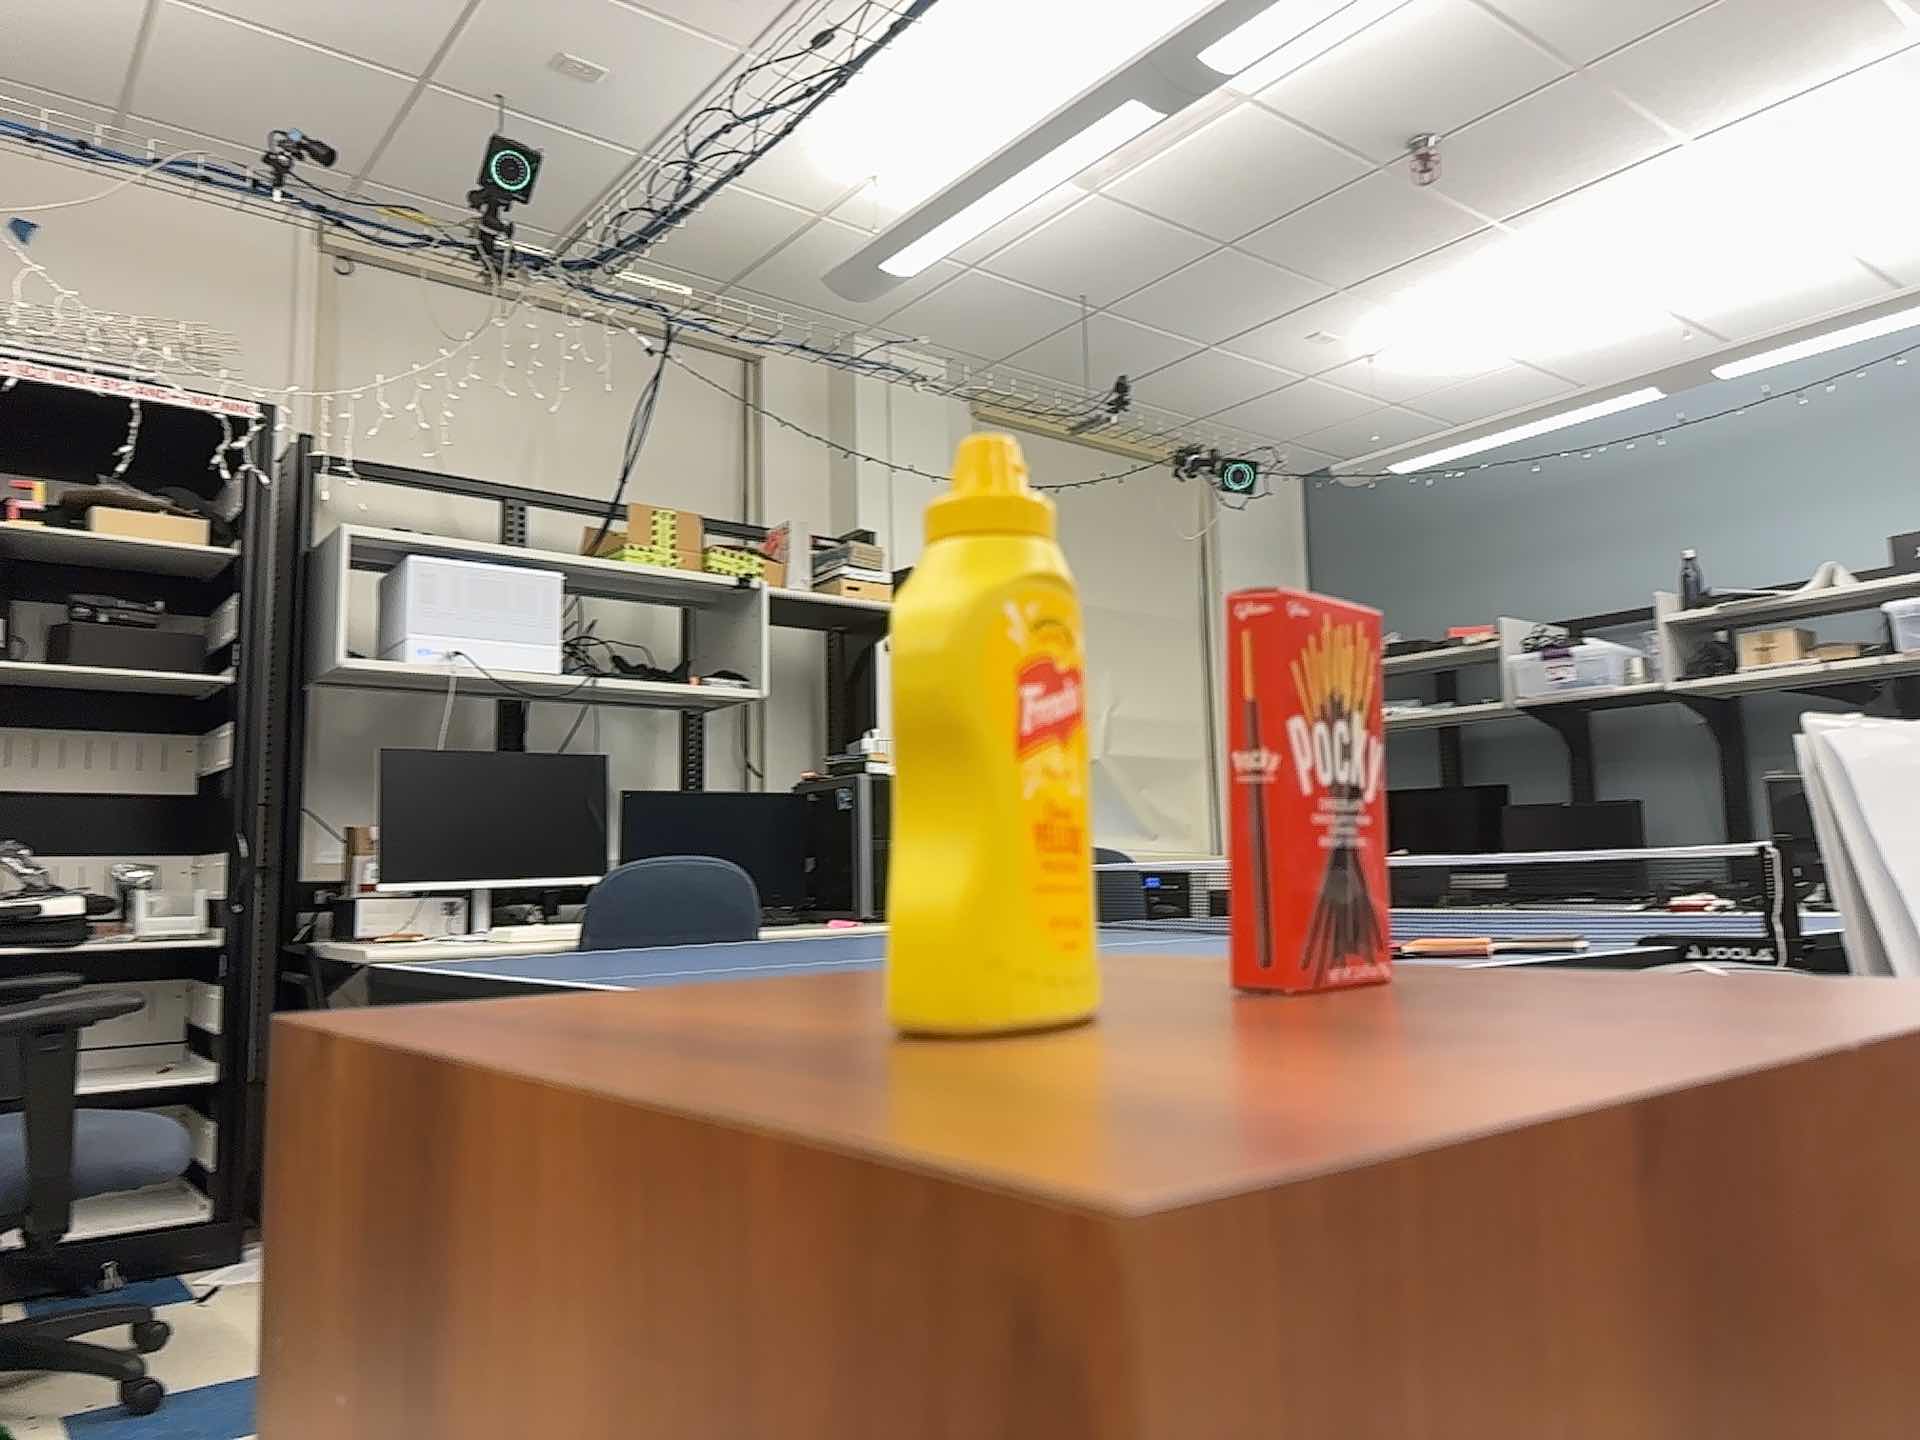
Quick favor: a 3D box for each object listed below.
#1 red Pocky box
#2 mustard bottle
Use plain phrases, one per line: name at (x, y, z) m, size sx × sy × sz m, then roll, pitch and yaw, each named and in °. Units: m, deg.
red Pocky box at (0.135, 0.029, 0.516) m, size 0.082 × 0.155 × 0.028 m, roll 7°, pitch -10°, yaw -42°
mustard bottle at (0.008, -0.001, 0.403) m, size 0.054 × 0.184 × 0.092 m, roll -7°, pitch -10°, yaw 34°
